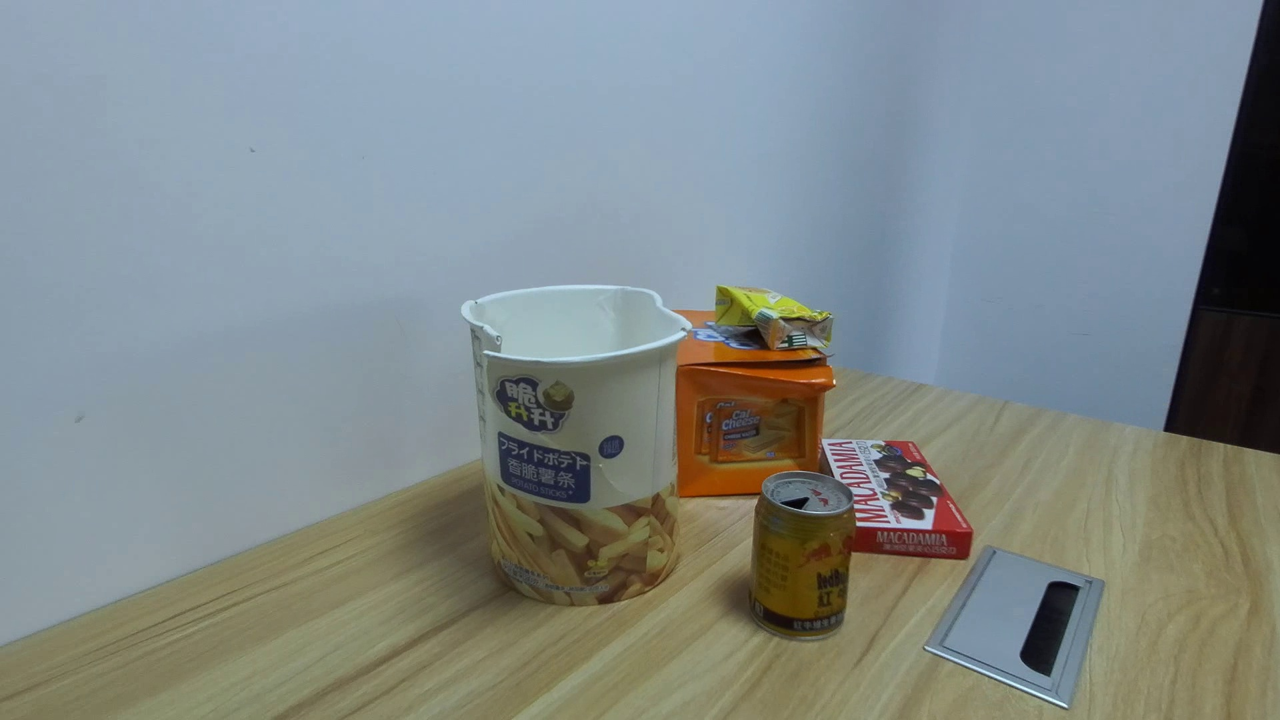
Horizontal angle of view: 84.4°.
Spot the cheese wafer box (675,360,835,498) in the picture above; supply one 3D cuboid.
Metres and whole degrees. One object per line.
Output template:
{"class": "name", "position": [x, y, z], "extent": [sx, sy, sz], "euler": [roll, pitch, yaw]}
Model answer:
{"class": "cheese wafer box", "position": [0.096, 0.034, 0.729], "extent": [0.150, 0.137, 0.227], "euler": [0, 16, -3]}

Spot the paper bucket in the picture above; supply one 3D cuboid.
{"class": "paper bucket", "position": [-0.042, 0.057, 0.523], "extent": [0.146, 0.197, 0.202], "euler": [-6, 18, -17]}

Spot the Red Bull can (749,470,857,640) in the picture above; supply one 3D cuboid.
{"class": "Red Bull can", "position": [0.108, 0.128, 0.471], "extent": [0.068, 0.093, 0.068], "euler": [0, 17, 0]}

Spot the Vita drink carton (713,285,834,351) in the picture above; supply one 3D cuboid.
{"class": "Vita drink carton", "position": [0.128, -0.039, 0.689], "extent": [0.087, 0.042, 0.108], "euler": [1, 17, -29]}

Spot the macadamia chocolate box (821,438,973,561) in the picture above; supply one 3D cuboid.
{"class": "macadamia chocolate box", "position": [0.221, 0.118, 0.636], "extent": [0.095, 0.027, 0.178], "euler": [1, 16, 6]}
